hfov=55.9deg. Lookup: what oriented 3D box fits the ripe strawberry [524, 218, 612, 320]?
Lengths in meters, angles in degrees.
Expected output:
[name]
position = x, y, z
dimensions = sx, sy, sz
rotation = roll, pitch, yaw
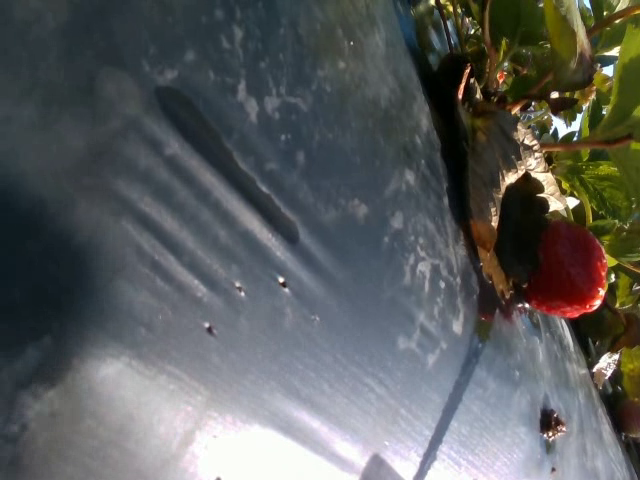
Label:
[ripe strawberry]
position = 0.083, 0.015, 0.198
dimensions = 0.037, 0.047, 0.054
rotation = -14, 22, 10
